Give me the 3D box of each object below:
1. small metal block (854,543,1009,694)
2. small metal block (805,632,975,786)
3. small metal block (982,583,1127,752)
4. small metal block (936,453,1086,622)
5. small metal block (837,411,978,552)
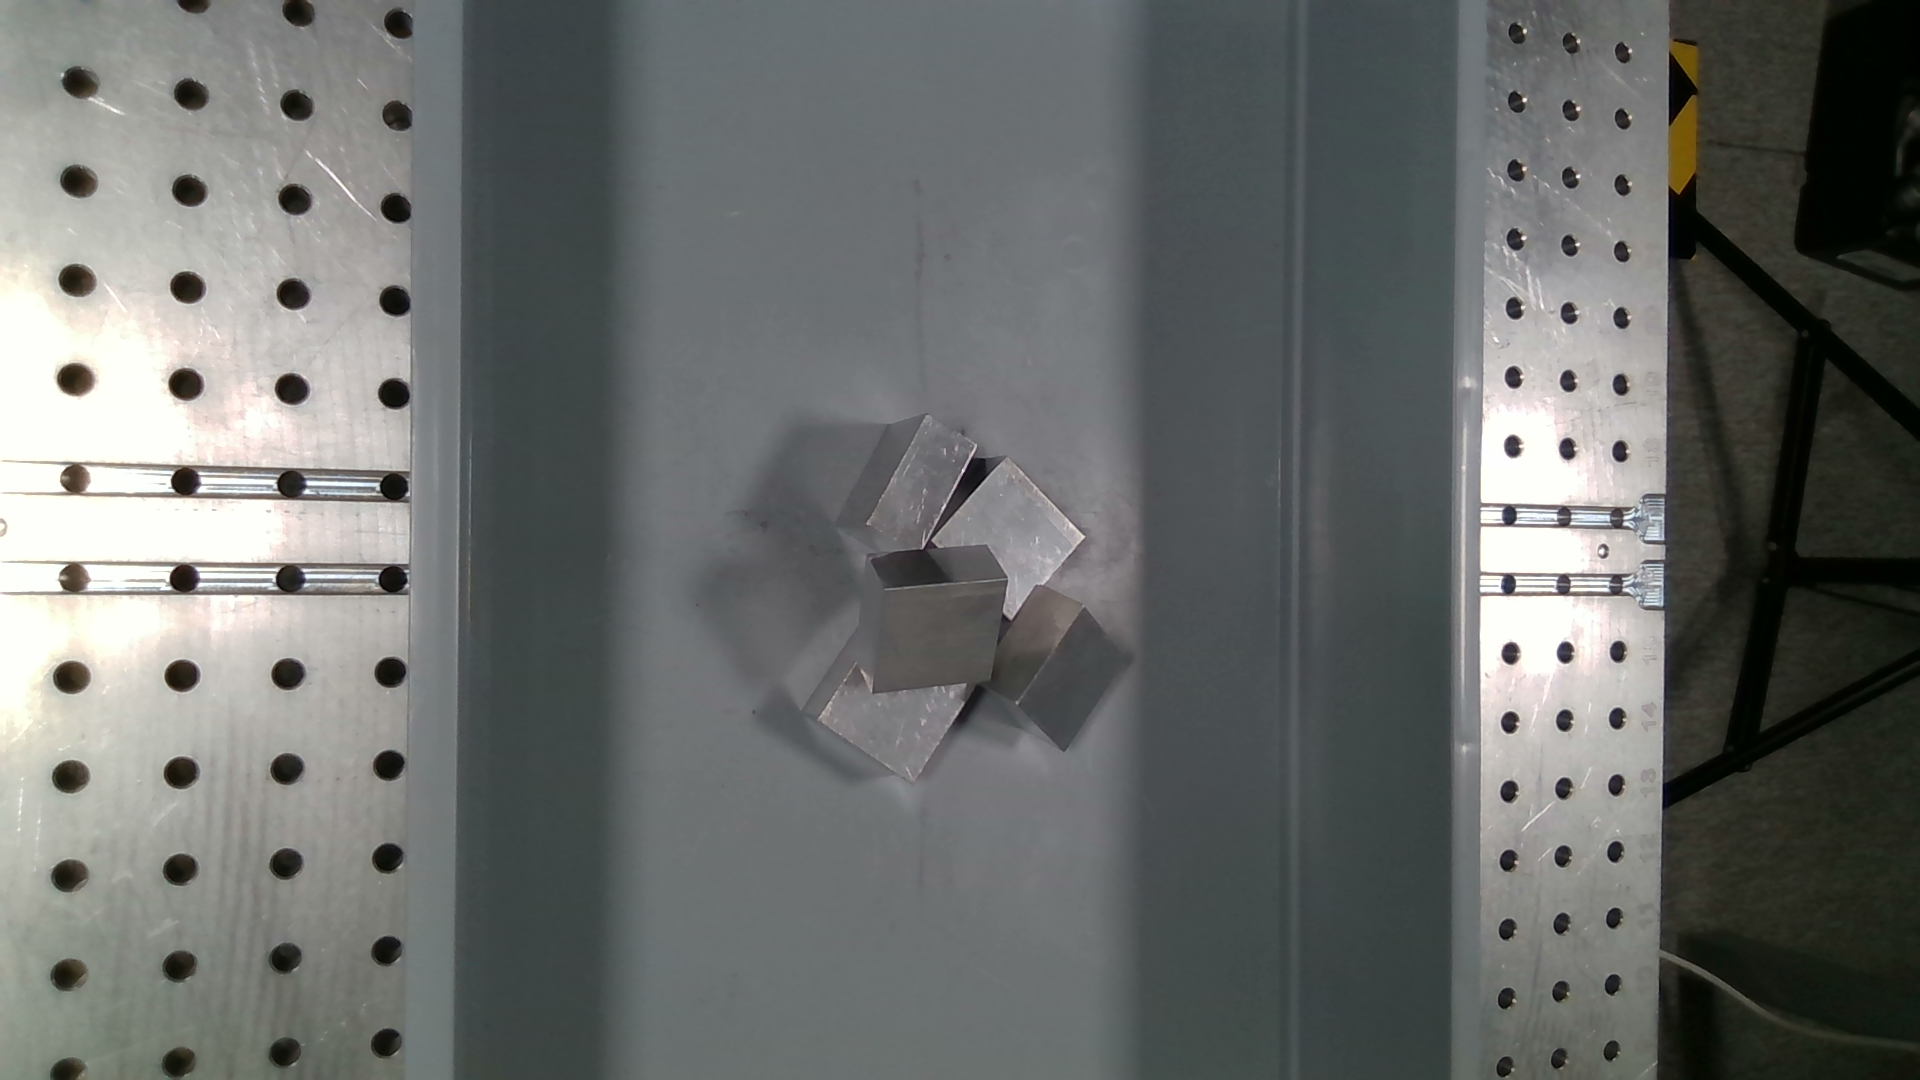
[{"bbox_3d":[-0.012,0.030,0.542,0.050,0.025,0.050,-4,124,-20],"label":"small metal block"},{"bbox_3d":[-0.029,0.066,0.574,0.050,0.025,0.050,37,78,-17],"label":"small metal block"},{"bbox_3d":[0.040,0.055,0.588,0.050,0.025,0.050,-55,139,-12],"label":"small metal block"},{"bbox_3d":[0.016,-0.001,0.590,0.050,0.025,0.050,45,76,-15],"label":"small metal block"},{"bbox_3d":[-0.023,-0.023,0.562,0.025,0.050,0.050,31,80,-18],"label":"small metal block"}]
